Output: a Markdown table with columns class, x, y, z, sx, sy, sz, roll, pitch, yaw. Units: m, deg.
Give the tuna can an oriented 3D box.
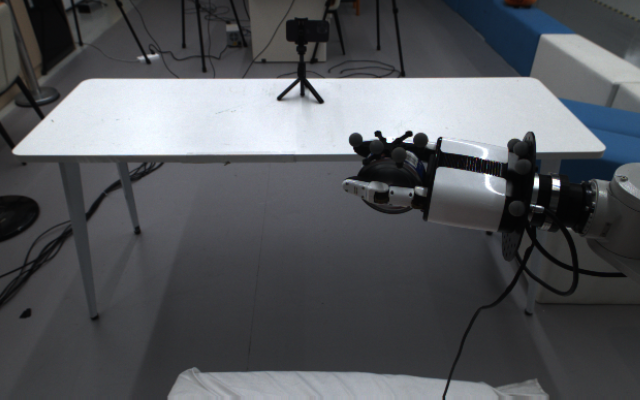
| class | x | y | z | sx | sy | sz | roll | pitch | yaw |
| --- | --- | --- | --- | --- | --- | --- | --- | --- | --- |
| tuna can | 0.094 | -0.026 | 0.621 | 0.085 | 0.085 | 0.034 | 12 | 39 | 13 |
